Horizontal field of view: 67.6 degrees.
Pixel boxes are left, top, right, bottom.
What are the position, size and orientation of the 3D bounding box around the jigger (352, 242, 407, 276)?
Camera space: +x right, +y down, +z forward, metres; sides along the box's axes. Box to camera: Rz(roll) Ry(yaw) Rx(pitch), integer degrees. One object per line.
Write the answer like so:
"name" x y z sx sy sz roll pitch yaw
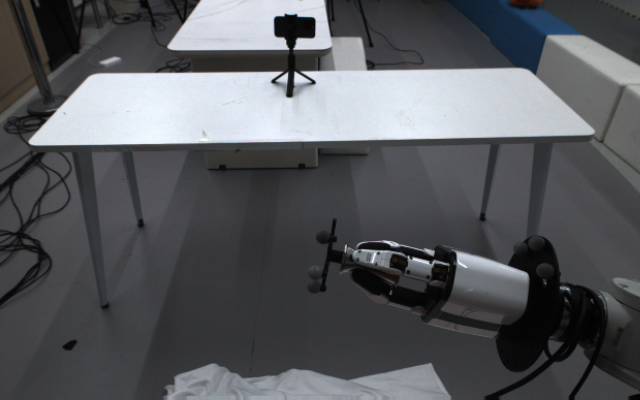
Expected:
"jigger" 0.067 0.072 0.575 0.071 0.043 0.043 11 35 3
